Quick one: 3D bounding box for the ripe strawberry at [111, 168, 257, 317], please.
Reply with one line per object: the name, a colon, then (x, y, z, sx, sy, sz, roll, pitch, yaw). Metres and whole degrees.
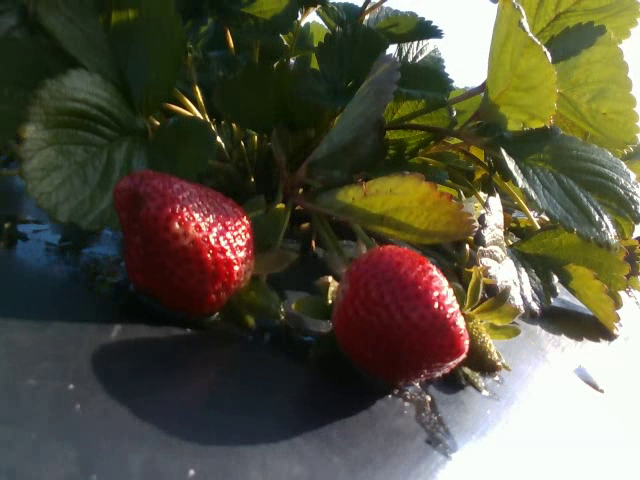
ripe strawberry: (-0.040, -0.001, 0.181, 0.039, 0.048, 0.054, -31, -35, 9)

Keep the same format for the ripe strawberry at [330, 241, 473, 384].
ripe strawberry: (0.027, 0.019, 0.169, 0.043, 0.038, 0.053, 33, -10, -21)
